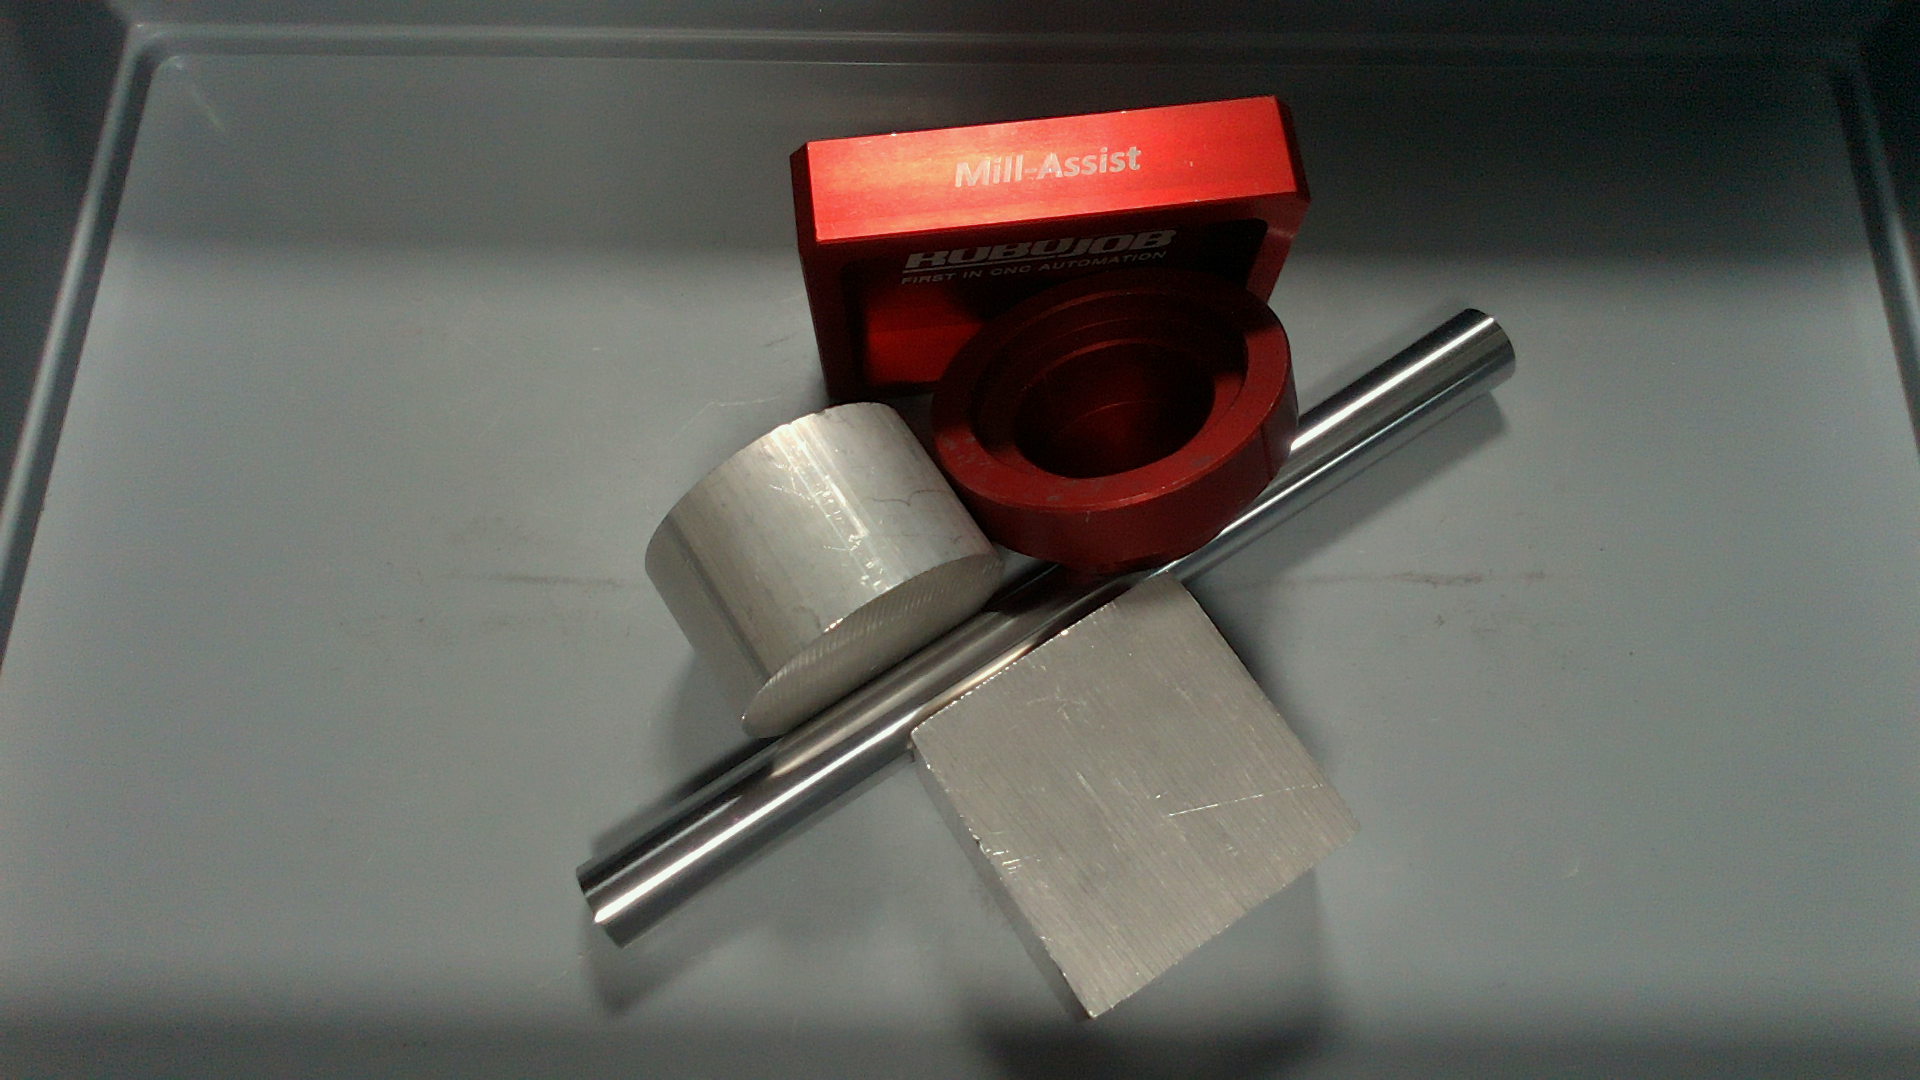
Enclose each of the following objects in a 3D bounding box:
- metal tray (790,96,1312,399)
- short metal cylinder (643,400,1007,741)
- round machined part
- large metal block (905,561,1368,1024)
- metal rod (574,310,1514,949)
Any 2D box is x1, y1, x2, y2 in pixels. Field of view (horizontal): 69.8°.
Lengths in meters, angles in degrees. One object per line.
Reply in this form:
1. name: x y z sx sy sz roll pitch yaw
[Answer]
1. metal tray: 0.023 -0.079 0.386 0.130 0.090 0.030 -6 70 -3
2. short metal cylinder: -0.035 0.009 0.361 0.080 0.080 0.050 -32 73 -11
3. round machined part: 0.045 -0.030 0.381 0.098 0.042 0.098 -10 44 11
4. large metal block: 0.042 0.066 0.355 0.080 0.050 0.080 -31 73 -11
5. metal rod: 0.032 0.019 0.387 0.300 0.025 0.025 -31 73 -11
